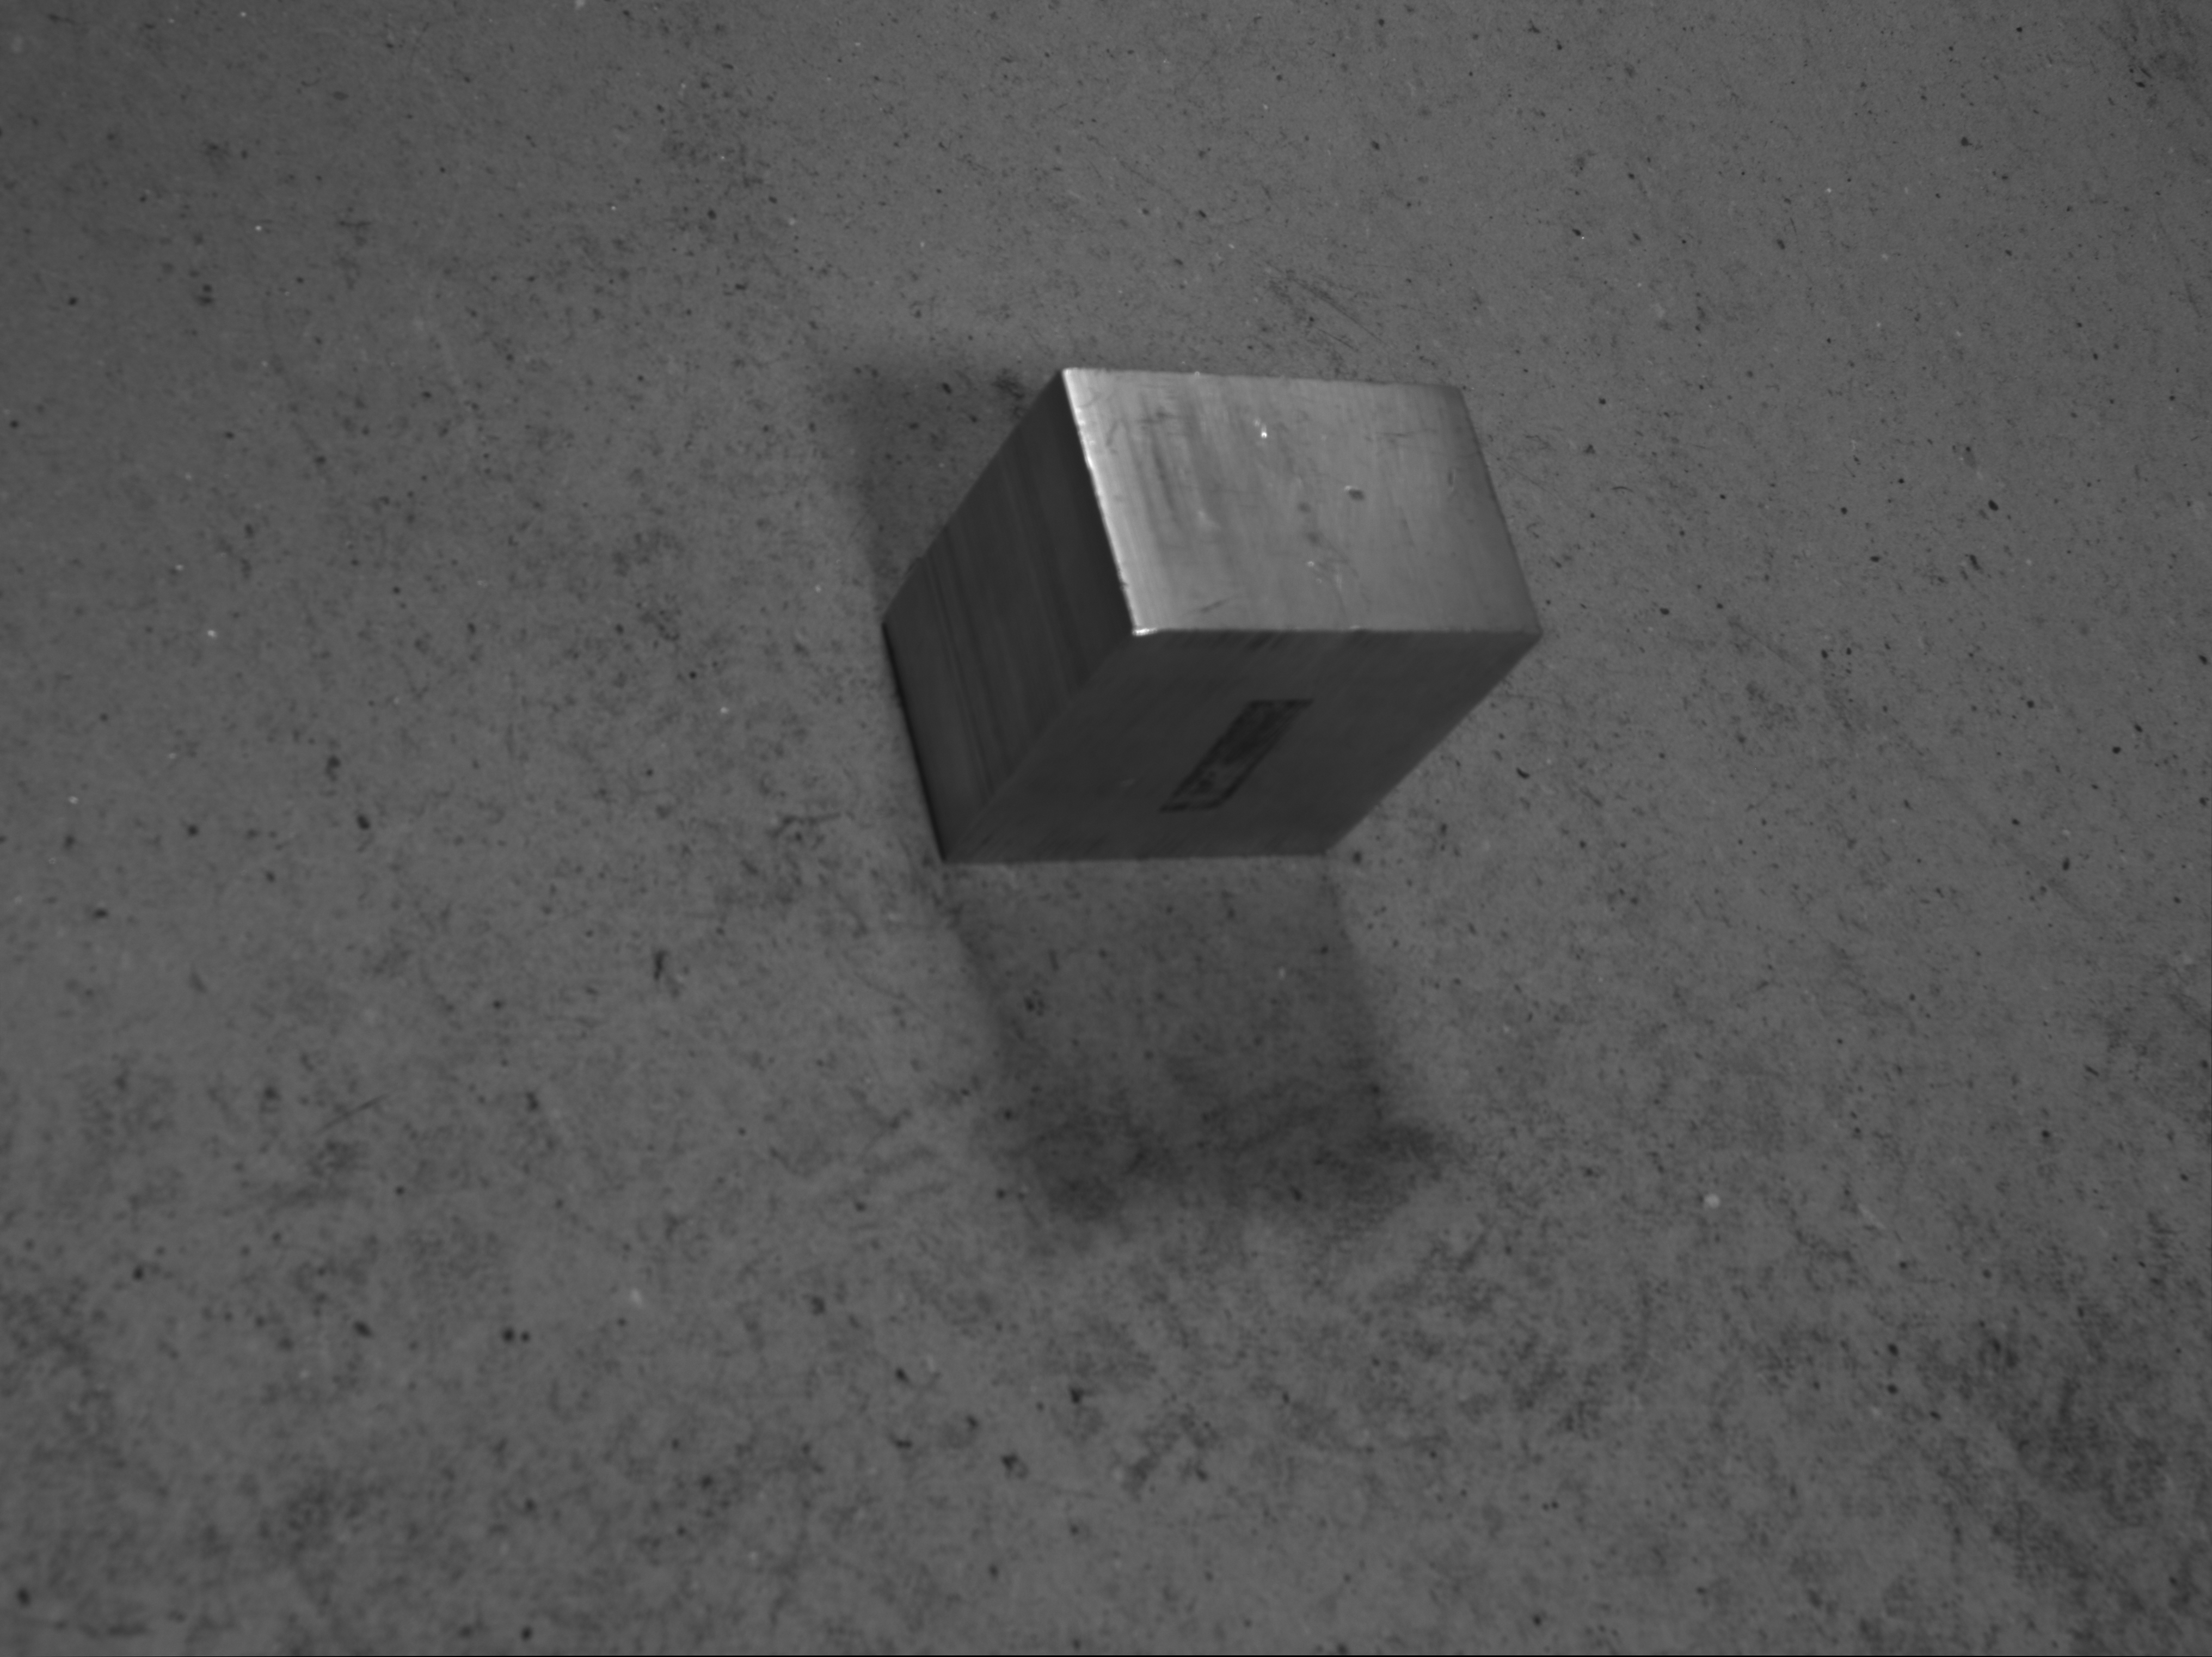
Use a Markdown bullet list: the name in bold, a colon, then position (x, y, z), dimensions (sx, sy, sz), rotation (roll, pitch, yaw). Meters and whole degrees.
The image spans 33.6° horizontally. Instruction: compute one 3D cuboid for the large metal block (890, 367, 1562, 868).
- **large metal block**: position (0.019, -0.035, 0.636), dimensions (0.080, 0.080, 0.050), rotation (-1, 62, -29)
